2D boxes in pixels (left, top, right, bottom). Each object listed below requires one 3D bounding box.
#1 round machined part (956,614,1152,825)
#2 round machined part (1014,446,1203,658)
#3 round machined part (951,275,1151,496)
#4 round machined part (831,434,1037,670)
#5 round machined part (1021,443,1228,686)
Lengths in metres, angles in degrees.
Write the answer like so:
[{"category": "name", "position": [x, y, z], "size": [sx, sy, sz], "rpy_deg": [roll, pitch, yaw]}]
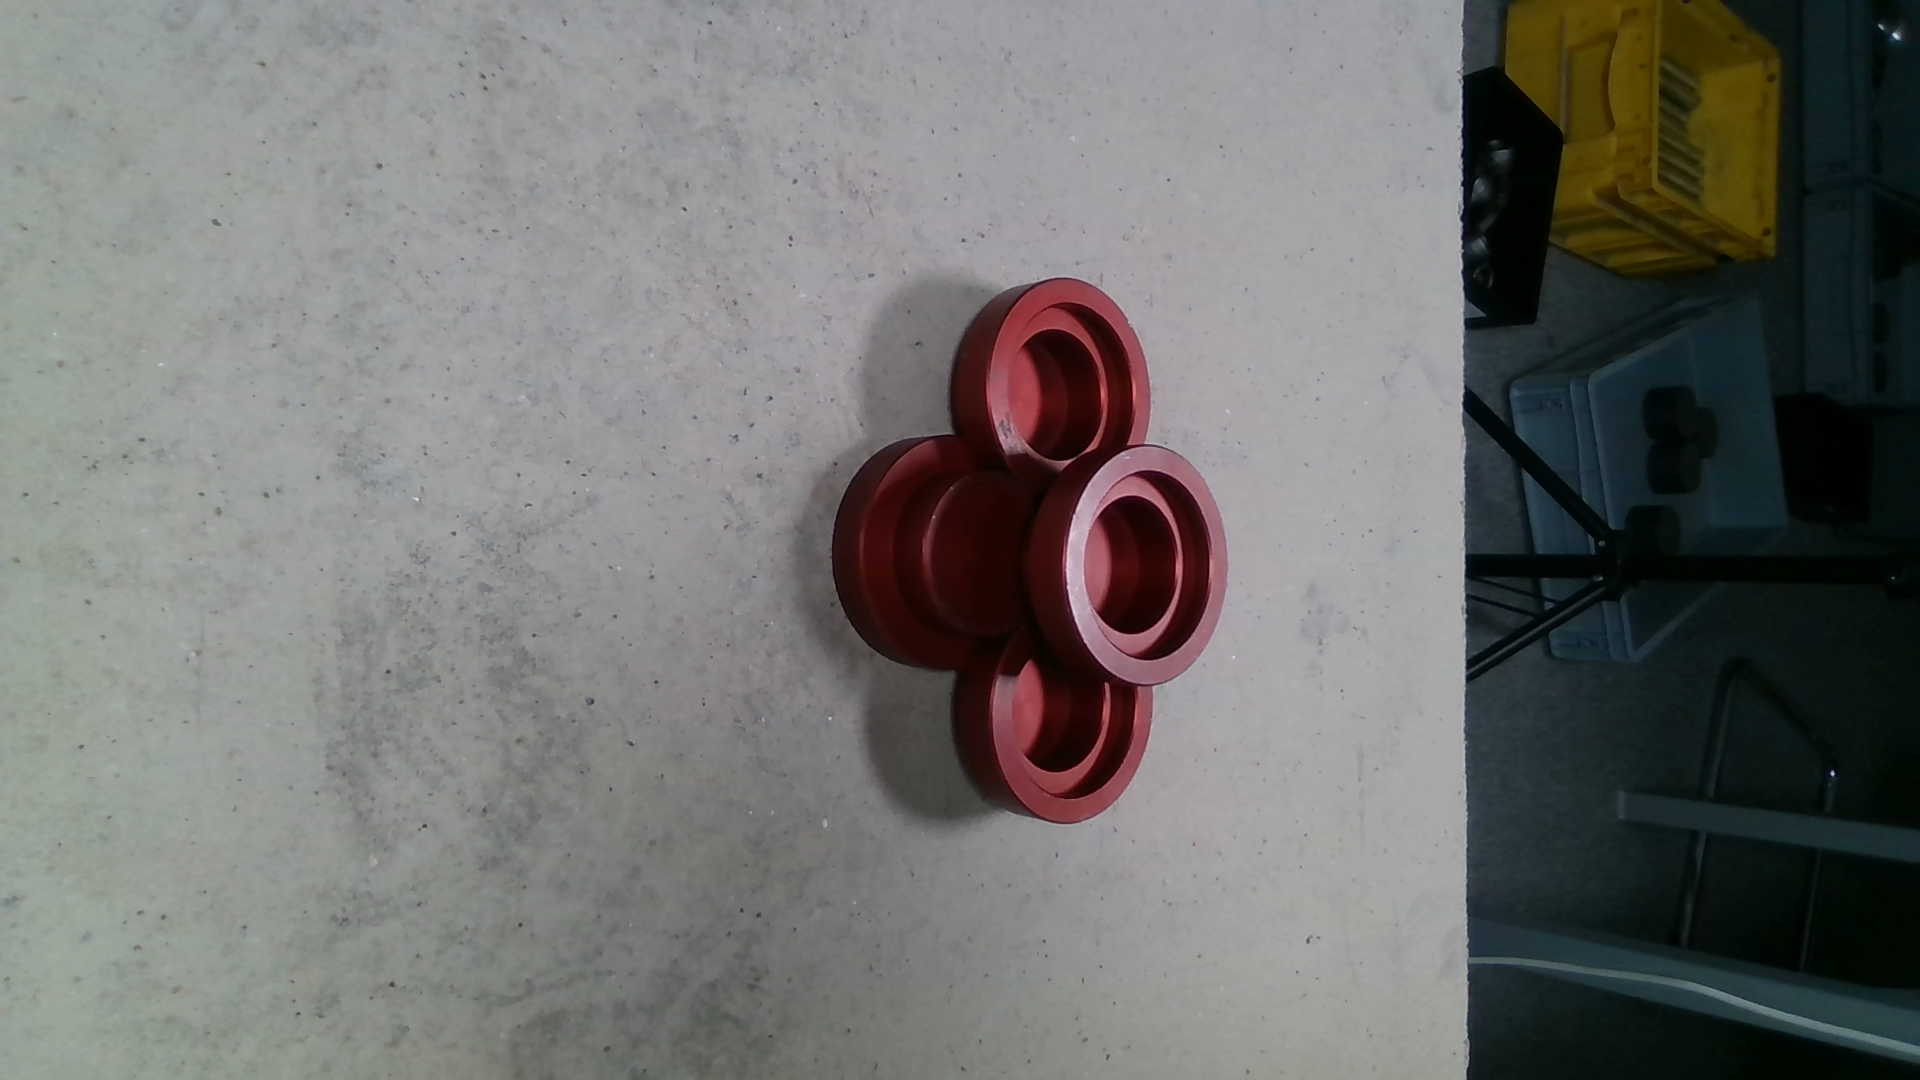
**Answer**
[{"category": "round machined part", "position": [0.036, 0.072, 0.603], "size": [0.098, 0.042, 0.098], "rpy_deg": [0, 90, -40]}, {"category": "round machined part", "position": [0.074, 0.006, 0.635], "size": [0.098, 0.042, 0.098], "rpy_deg": [0, 90, -40]}, {"category": "round machined part", "position": [0.035, -0.063, 0.602], "size": [0.098, 0.042, 0.098], "rpy_deg": [0, 90, -40]}, {"category": "round machined part", "position": [-0.002, 0.005, 0.571], "size": [0.098, 0.042, 0.098], "rpy_deg": [0, 90, -40]}, {"category": "round machined part", "position": [0.064, 0.010, 0.571], "size": [0.098, 0.042, 0.098], "rpy_deg": [0, 90, -40]}]
